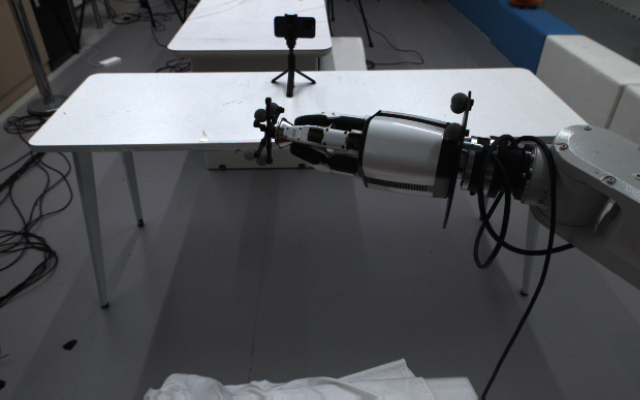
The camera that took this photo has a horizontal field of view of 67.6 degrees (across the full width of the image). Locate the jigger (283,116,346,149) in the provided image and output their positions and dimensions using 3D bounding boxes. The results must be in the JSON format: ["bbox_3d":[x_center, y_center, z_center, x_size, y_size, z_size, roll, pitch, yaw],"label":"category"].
[{"bbox_3d":[-0.015,-0.084,0.607,0.071,0.043,0.043,10,35,16],"label":"jigger"}]
